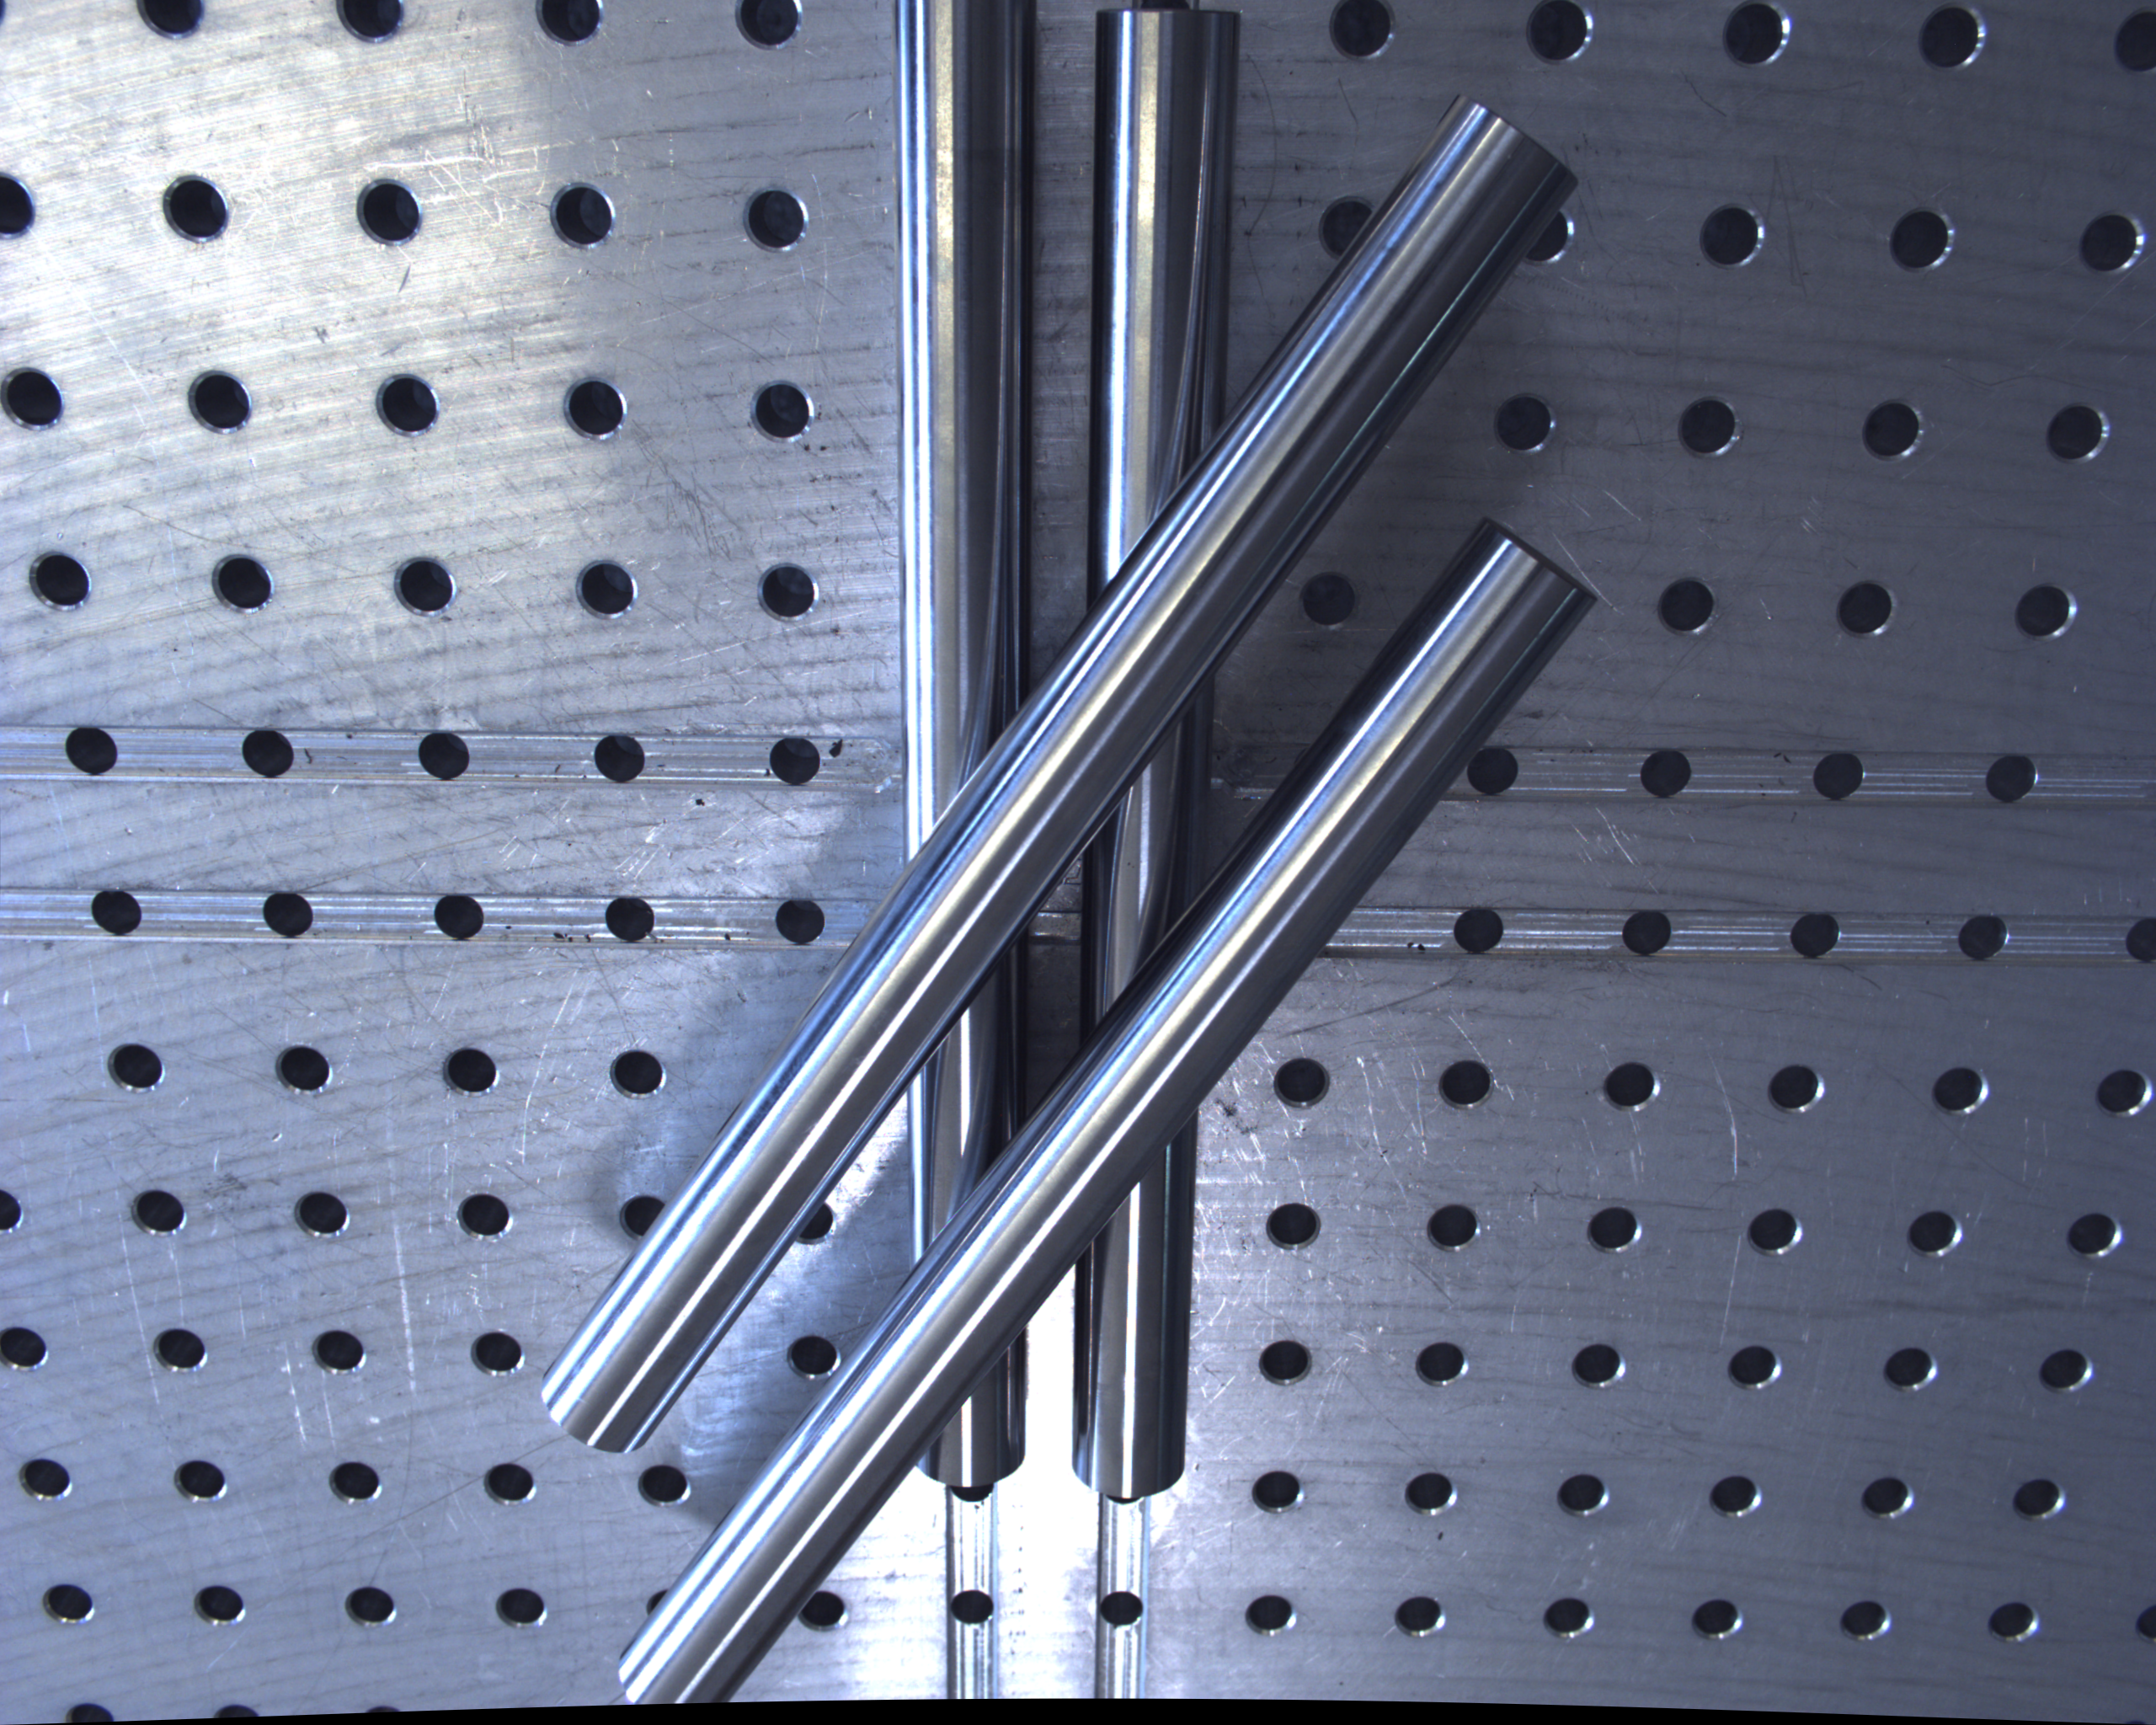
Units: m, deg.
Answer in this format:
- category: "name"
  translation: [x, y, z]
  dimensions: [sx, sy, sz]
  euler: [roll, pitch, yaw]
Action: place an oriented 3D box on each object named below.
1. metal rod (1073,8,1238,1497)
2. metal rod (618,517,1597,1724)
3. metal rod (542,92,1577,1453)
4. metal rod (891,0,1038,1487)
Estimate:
- category: "metal rod"
  translation: [0.013, -0.007, 0.411]
  dimensions: [0.025, 0.025, 0.298]
  euler: [1, 110, 0]
- category: "metal rod"
  translation: [-0.003, 0.062, 0.409]
  dimensions: [0.025, 0.025, 0.299]
  euler: [33, 106, -11]
- category: "metal rod"
  translation: [-0.013, -0.004, 0.386]
  dimensions: [0.025, 0.025, 0.299]
  euler: [33, 107, -11]
- category: "metal rod"
  translation: [-0.022, -0.010, 0.410]
  dimensions: [0.025, 0.025, 0.298]
  euler: [1, 110, 0]
